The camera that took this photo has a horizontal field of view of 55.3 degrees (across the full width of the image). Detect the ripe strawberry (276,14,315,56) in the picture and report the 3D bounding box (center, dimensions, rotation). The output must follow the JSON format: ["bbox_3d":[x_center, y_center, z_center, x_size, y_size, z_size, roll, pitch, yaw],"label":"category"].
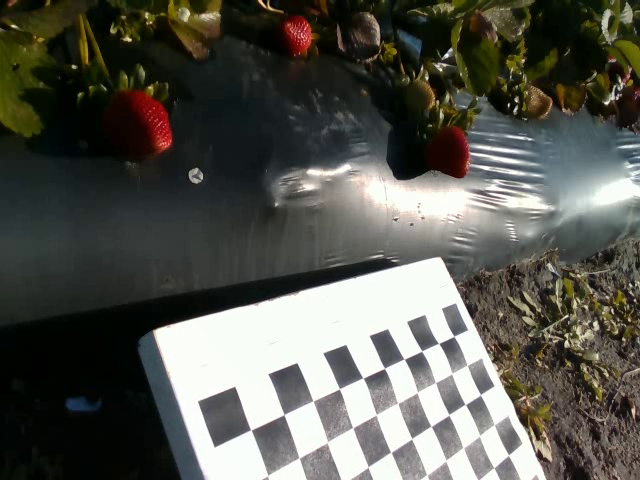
[{"bbox_3d":[-0.022,-0.167,0.484,0.036,0.034,0.047,-31,-14,31],"label":"ripe strawberry"}]

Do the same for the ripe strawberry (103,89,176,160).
[{"bbox_3d":[-0.101,-0.063,0.346,0.046,0.041,0.055,5,31,-48],"label":"ripe strawberry"}]

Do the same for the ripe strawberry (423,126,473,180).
[{"bbox_3d":[0.109,-0.070,0.509,0.042,0.058,0.042,21,-50,-40],"label":"ripe strawberry"}]
